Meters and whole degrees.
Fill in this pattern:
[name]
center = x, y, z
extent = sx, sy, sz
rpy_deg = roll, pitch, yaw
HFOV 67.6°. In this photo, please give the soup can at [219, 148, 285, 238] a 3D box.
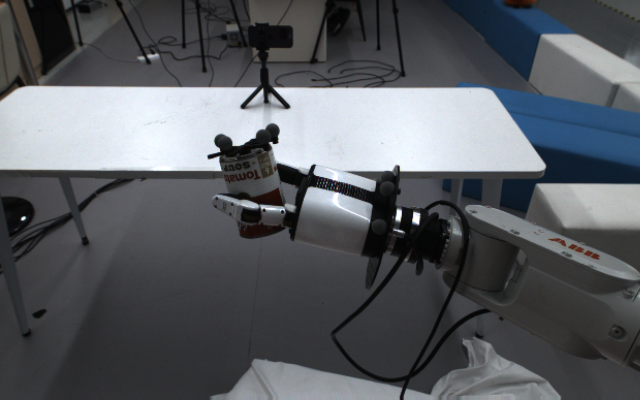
[soup can]
center = -0.078, -0.011, 0.602
extent = 0.067, 0.101, 0.067
rpy_deg = -12, 17, 4
